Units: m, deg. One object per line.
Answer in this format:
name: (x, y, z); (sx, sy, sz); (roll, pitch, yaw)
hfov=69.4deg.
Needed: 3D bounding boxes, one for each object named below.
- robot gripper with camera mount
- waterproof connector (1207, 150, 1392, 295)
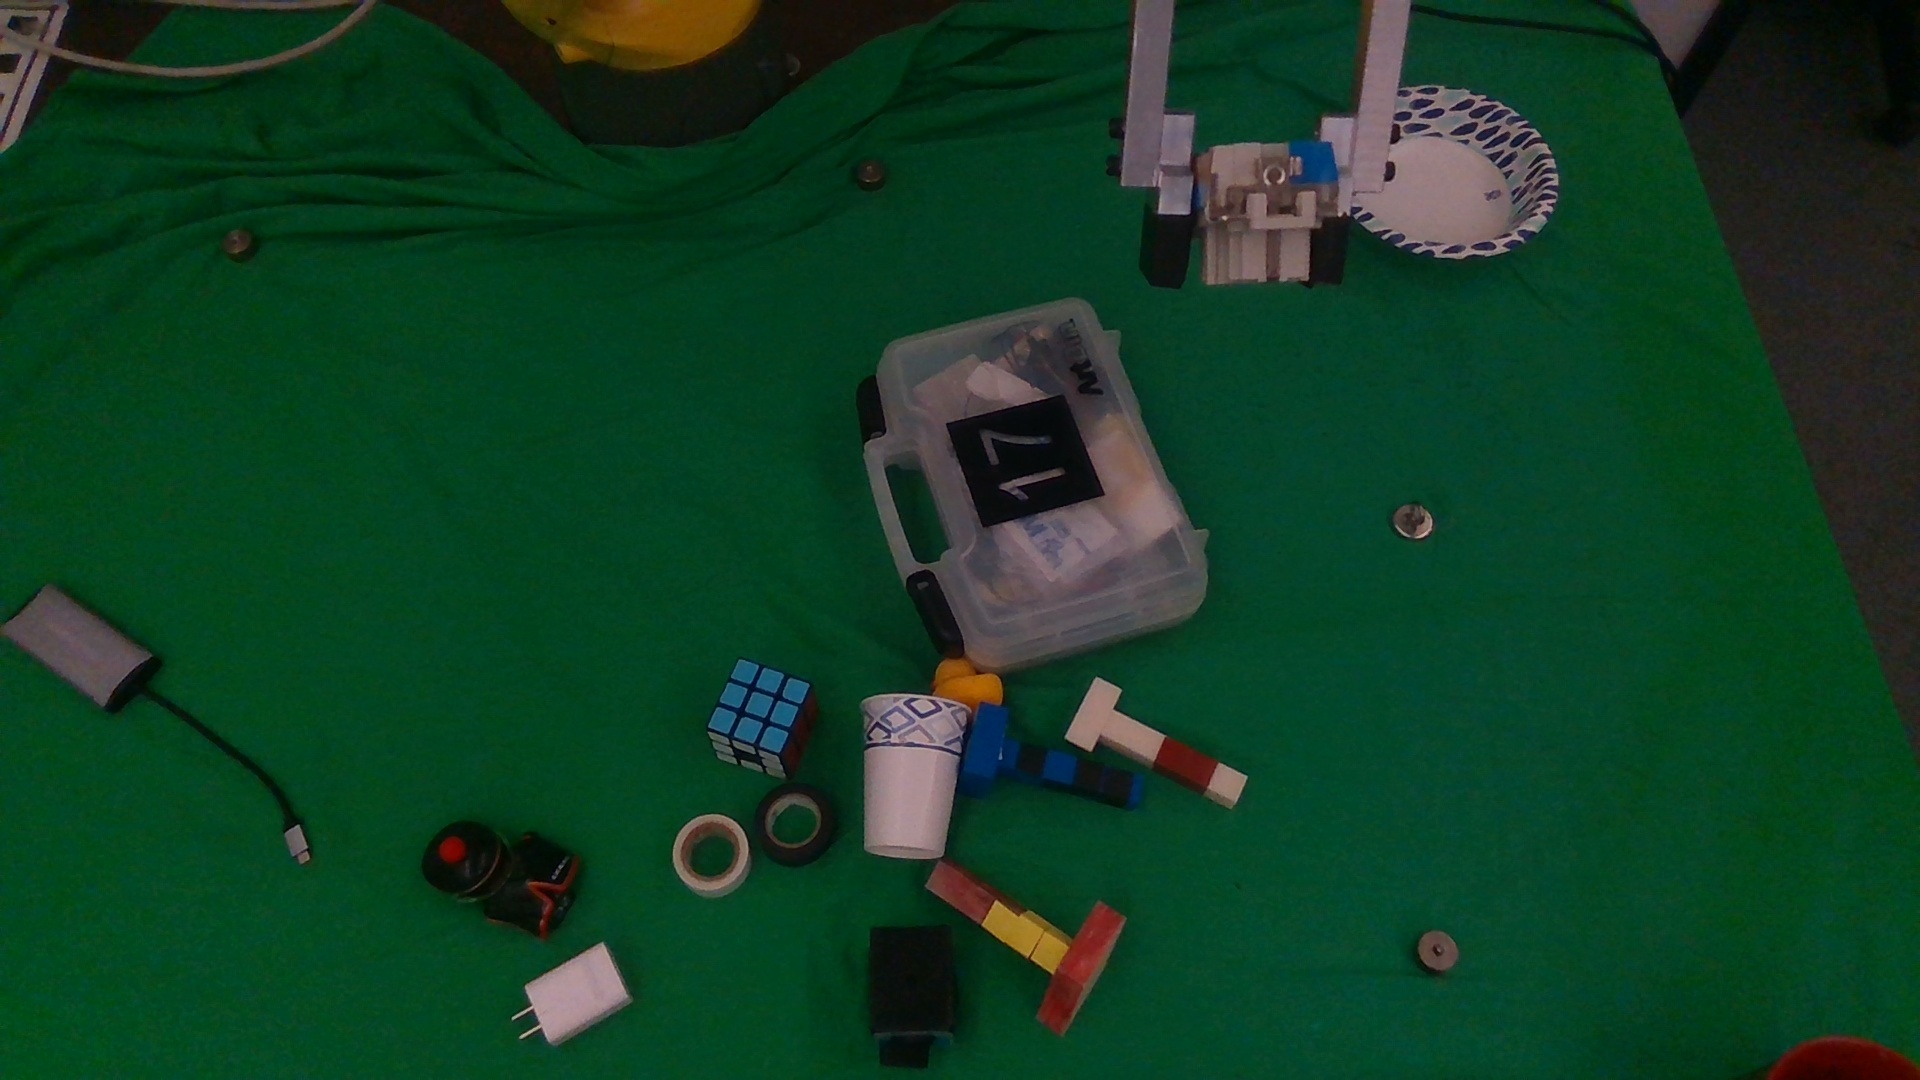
robot gripper with camera mount: (0.087, -0.170, 0.432); (0.119, 0.158, 0.193); (3, 20, -4)
waterproof connector: (0.091, -0.086, 0.381); (0.035, 0.065, 0.037); (-1, 101, -3)
